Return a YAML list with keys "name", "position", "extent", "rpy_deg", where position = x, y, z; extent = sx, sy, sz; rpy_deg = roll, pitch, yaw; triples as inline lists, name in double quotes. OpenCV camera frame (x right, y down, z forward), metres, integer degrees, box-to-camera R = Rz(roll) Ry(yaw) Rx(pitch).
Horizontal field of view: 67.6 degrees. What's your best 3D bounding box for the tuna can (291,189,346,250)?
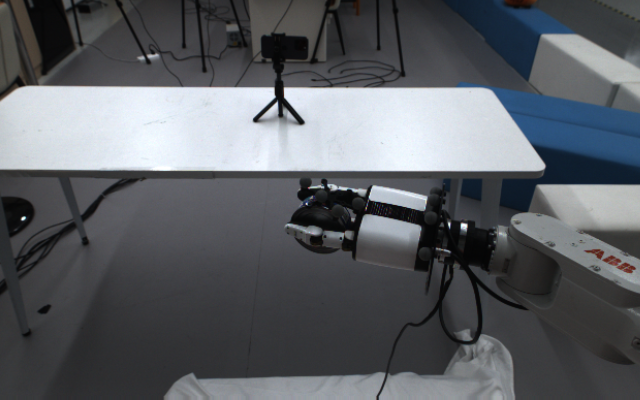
- name: "tuna can"
  position: [0.004, 0.034, 0.710]
  extent: [0.085, 0.085, 0.034]
  rpy_deg: [12, 33, 14]
